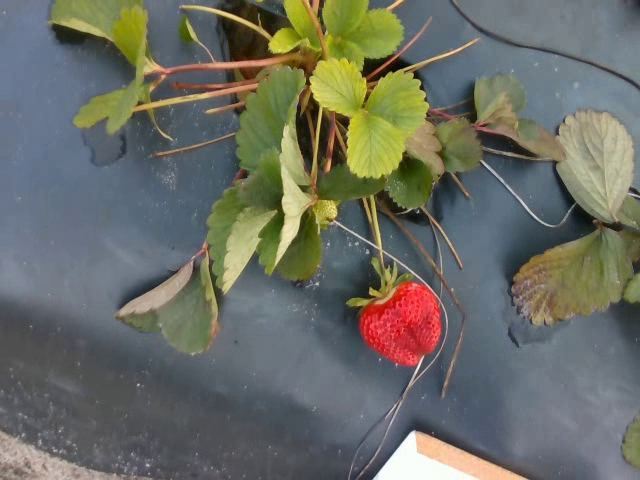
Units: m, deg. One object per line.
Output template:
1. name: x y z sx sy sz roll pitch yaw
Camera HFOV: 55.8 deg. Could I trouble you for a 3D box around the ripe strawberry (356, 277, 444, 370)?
1. ripe strawberry: 0.013 0.016 0.097 0.017 0.015 0.013 -36 -26 22
